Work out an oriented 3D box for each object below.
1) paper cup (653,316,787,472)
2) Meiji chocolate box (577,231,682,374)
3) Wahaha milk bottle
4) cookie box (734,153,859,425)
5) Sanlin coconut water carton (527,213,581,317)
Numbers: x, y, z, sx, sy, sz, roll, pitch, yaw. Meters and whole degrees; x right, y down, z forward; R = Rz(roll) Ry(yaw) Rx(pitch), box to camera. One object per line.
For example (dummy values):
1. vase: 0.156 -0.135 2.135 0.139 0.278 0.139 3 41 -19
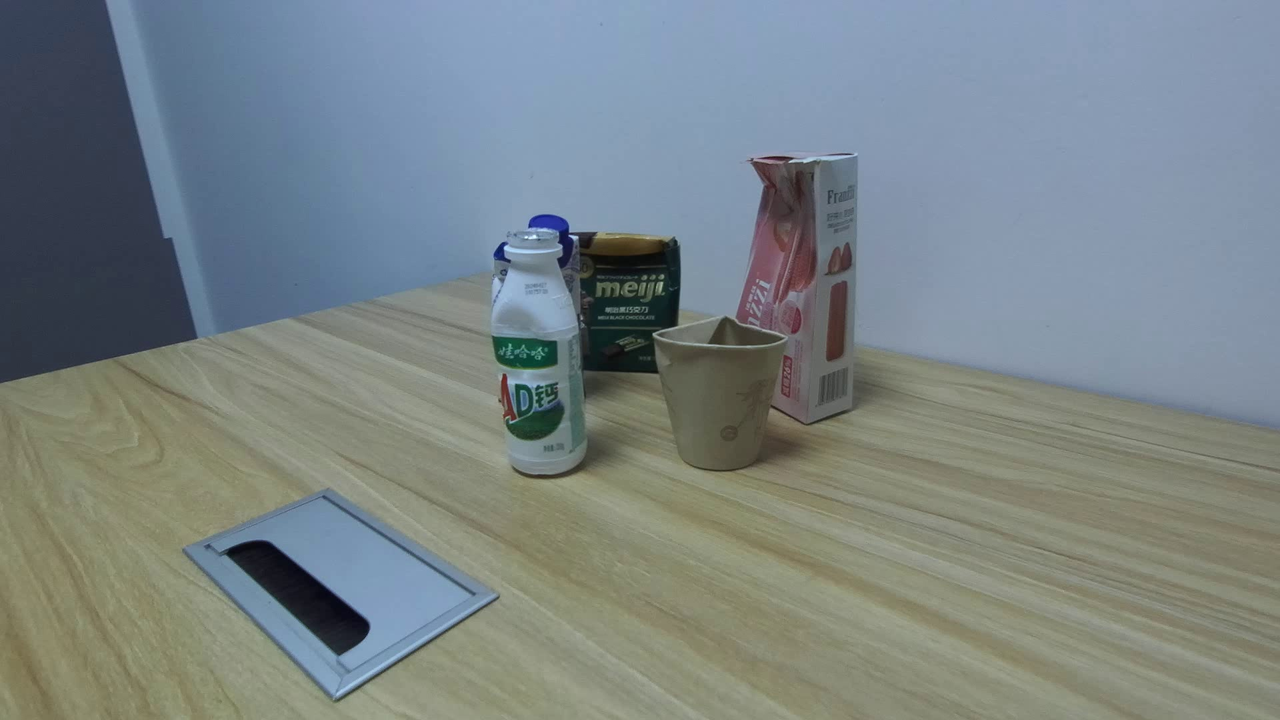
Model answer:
1. paper cup: 0.049 0.022 0.446 0.066 0.084 0.071 -13 22 -31
2. Meiji chocolate box: -0.023 -0.050 0.630 0.113 0.110 0.058 1 13 12
3. Wahaha milk bottle: -0.060 -0.005 0.435 0.055 0.149 0.055 -1 19 1
4. cookie box: 0.110 -0.057 0.519 0.055 0.184 0.118 -10 21 -21
5. Sanlin coconut water carton: -0.079 -0.037 0.529 0.061 0.143 0.069 -14 21 -41
